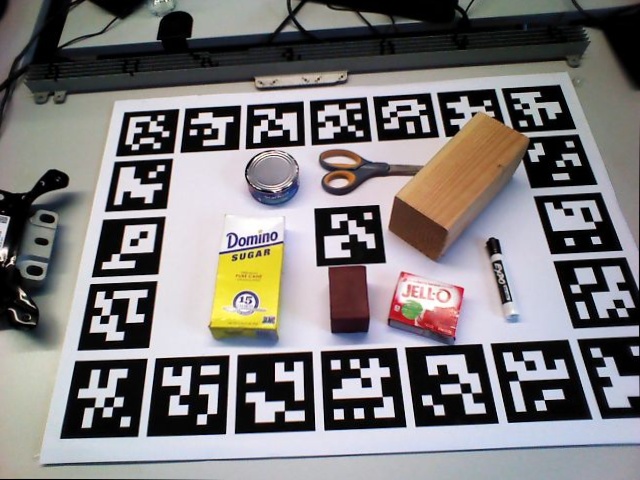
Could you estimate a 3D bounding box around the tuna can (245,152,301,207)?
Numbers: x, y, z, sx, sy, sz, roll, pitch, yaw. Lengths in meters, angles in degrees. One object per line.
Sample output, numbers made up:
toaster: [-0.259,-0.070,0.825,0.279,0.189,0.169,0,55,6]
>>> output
tuna can: [-0.074,-0.095,0.823,0.086,0.034,0.085,-2,62,4]

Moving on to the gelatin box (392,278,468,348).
gelatin box: [0.150,0.098,0.706,0.090,0.030,0.073,14,64,12]

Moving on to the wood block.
wood block: [0.216,-0.072,0.761,0.090,0.091,0.205,38,70,22]

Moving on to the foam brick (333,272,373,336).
foam brick: [0.045,0.088,0.703,0.053,0.051,0.077,-1,62,4]

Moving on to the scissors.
scissors: [0.100,-0.105,0.828,0.203,0.016,0.087,3,62,9]

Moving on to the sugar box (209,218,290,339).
sugar box: [-0.097,0.053,0.743,0.093,0.045,0.175,2,62,4]

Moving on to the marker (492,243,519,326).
marker: [0.258,0.059,0.722,0.020,0.020,0.120,-2,64,4]
